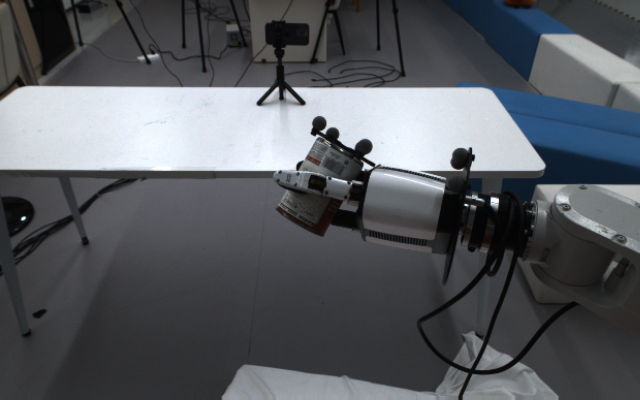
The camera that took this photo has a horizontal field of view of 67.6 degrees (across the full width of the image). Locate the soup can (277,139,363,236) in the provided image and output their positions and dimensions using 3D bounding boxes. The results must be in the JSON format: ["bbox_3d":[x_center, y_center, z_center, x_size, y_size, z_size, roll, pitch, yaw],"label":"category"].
[{"bbox_3d":[0.001,-0.016,0.589,0.067,0.101,0.067,30,2,-1],"label":"soup can"}]
